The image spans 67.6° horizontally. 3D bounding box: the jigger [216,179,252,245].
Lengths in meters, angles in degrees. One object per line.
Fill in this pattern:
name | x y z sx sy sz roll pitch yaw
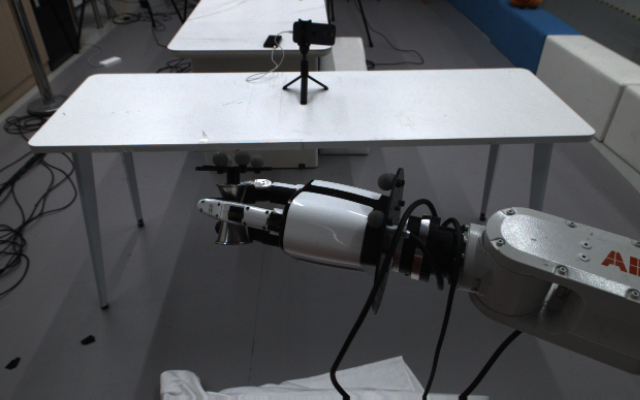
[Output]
jigger | -0.098 0.016 0.561 0.043 0.071 0.043 -1 2 0
